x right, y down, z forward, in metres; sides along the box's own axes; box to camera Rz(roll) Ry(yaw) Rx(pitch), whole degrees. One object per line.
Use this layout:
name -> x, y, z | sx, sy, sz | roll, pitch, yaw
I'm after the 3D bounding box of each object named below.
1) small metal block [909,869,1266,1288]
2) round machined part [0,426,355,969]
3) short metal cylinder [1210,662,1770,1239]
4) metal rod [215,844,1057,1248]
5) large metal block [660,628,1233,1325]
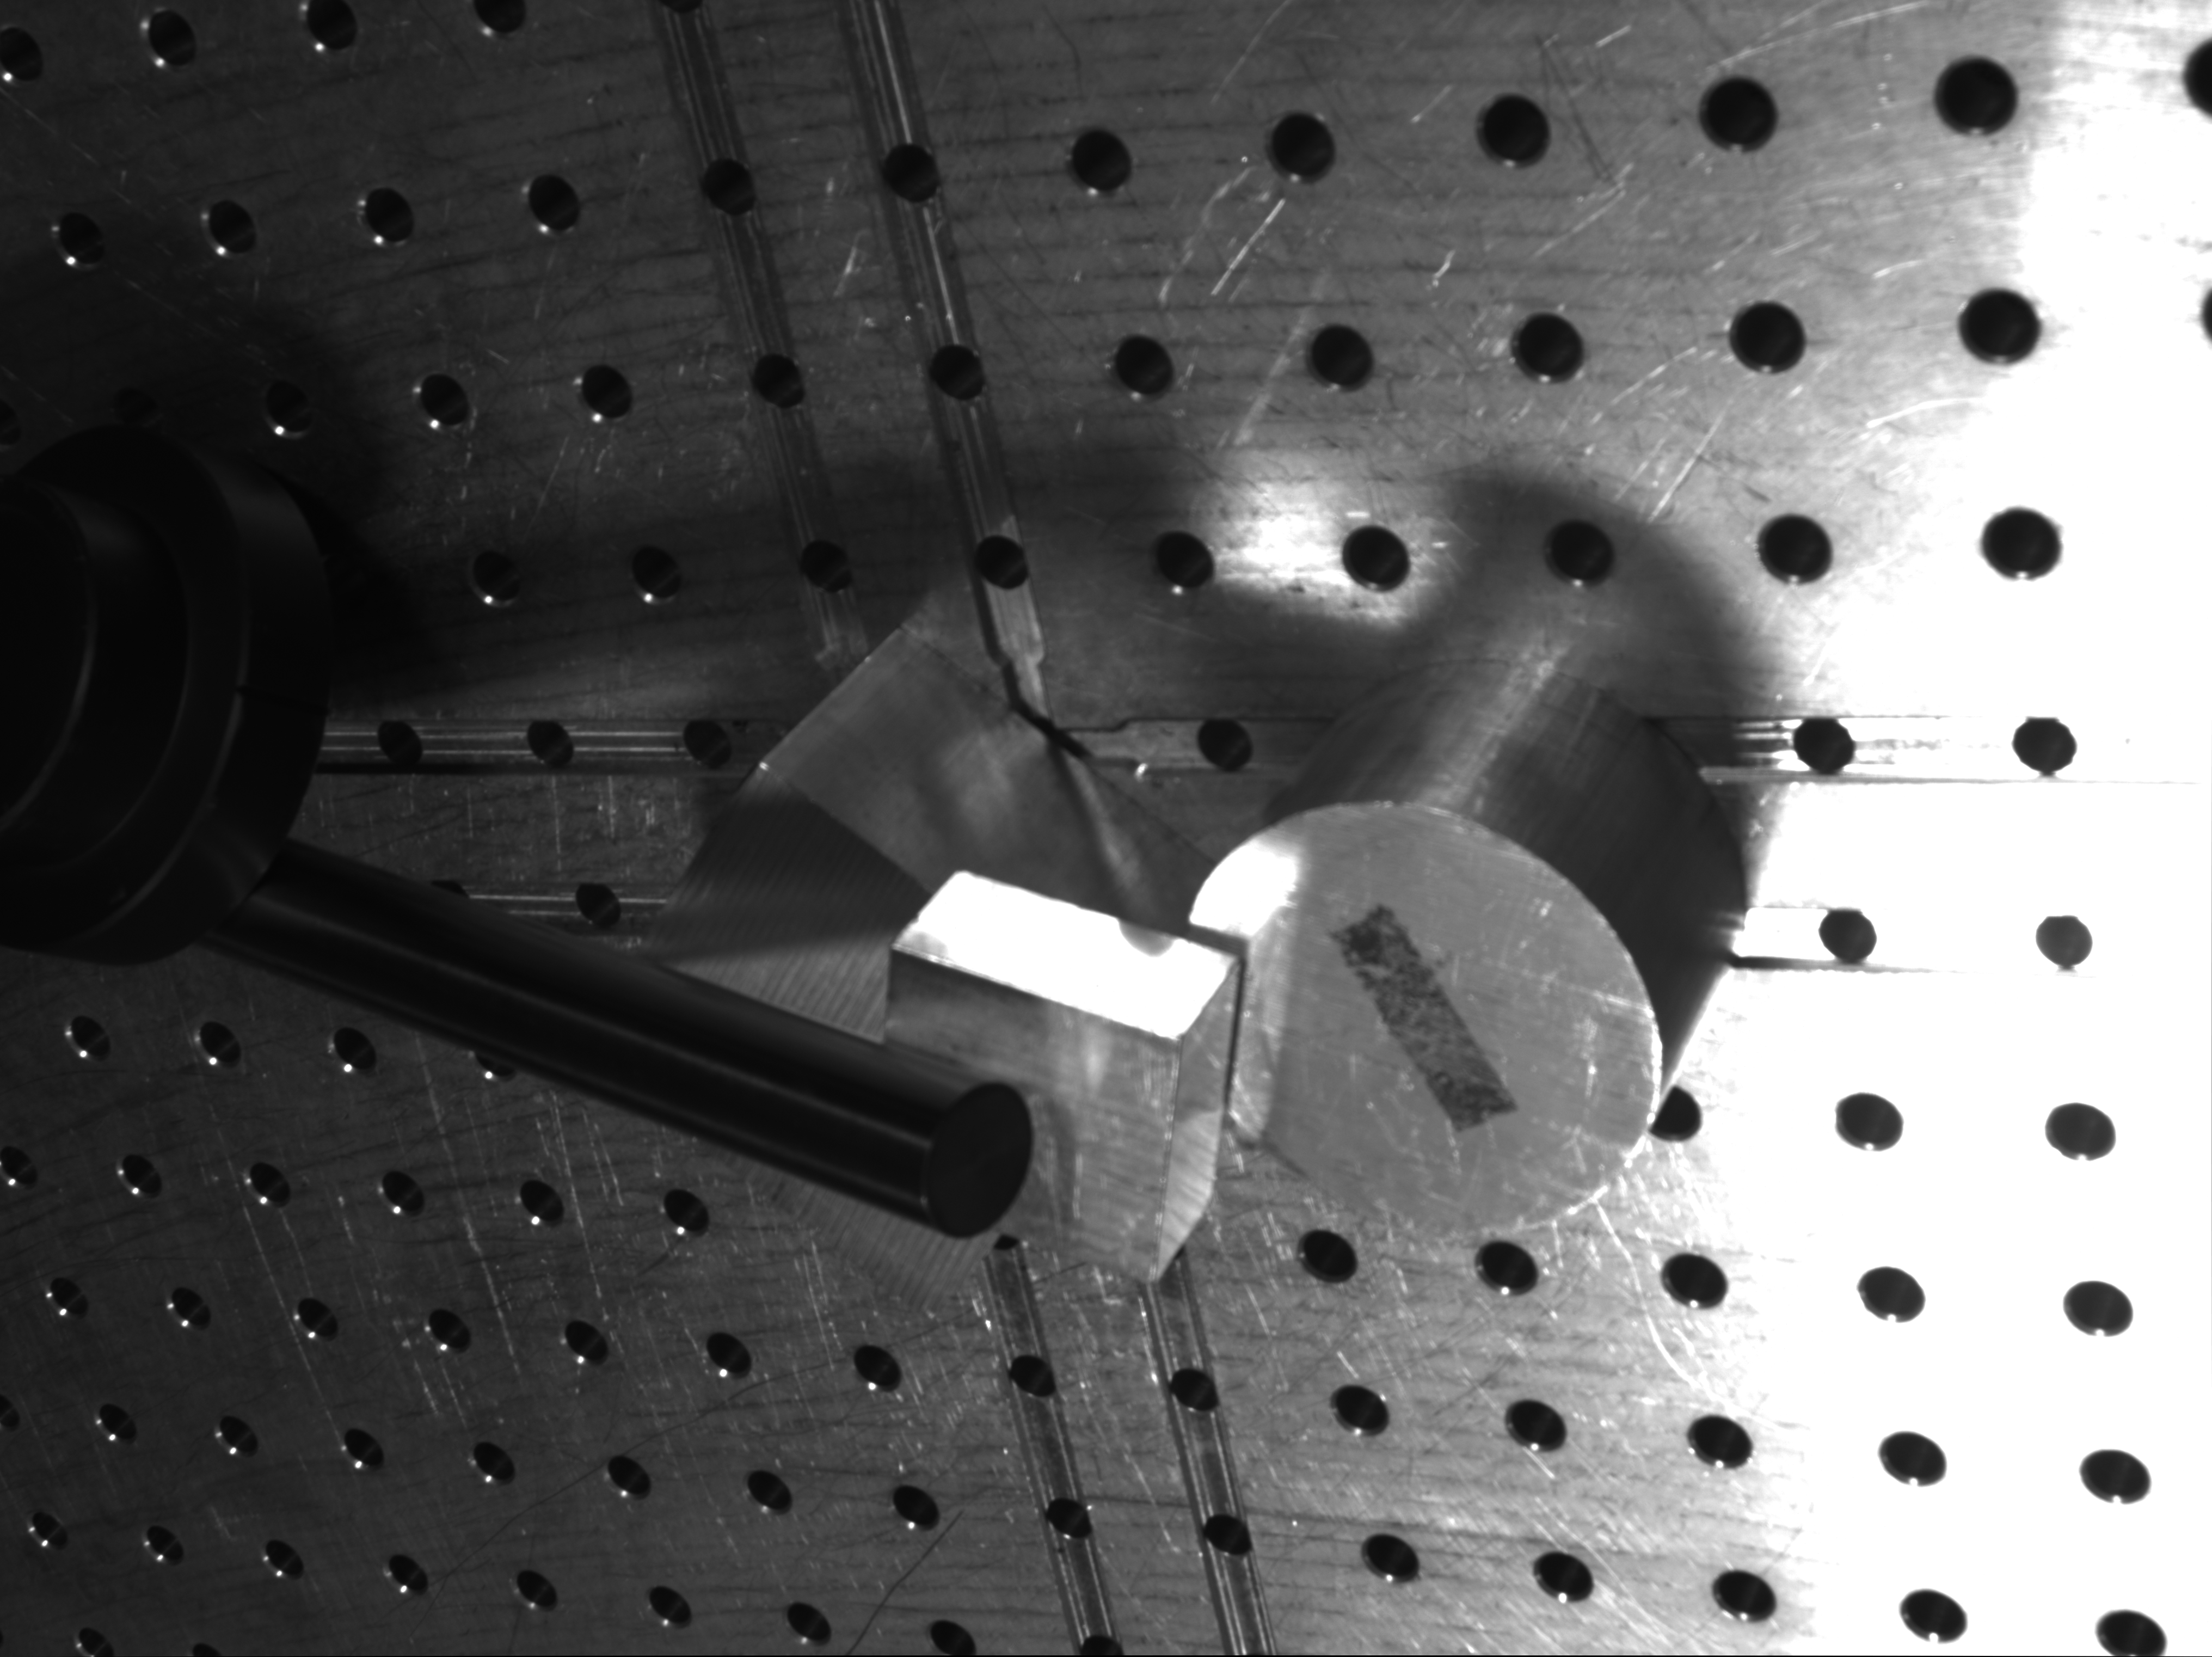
small metal block -> -0.004, 0.040, 0.594 | 0.050, 0.025, 0.050 | 17, 125, 17
round machined part -> -0.185, -0.026, 0.666 | 0.098, 0.042, 0.098 | -9, 74, 36
short metal cylinder -> 0.063, 0.020, 0.598 | 0.080, 0.050, 0.080 | 12, 123, 20
metal rod -> -0.128, 0.020, 0.655 | 0.299, 0.025, 0.025 | 16, 126, 39
large metal block -> -0.030, 0.026, 0.646 | 0.080, 0.050, 0.080 | 37, 128, 2
